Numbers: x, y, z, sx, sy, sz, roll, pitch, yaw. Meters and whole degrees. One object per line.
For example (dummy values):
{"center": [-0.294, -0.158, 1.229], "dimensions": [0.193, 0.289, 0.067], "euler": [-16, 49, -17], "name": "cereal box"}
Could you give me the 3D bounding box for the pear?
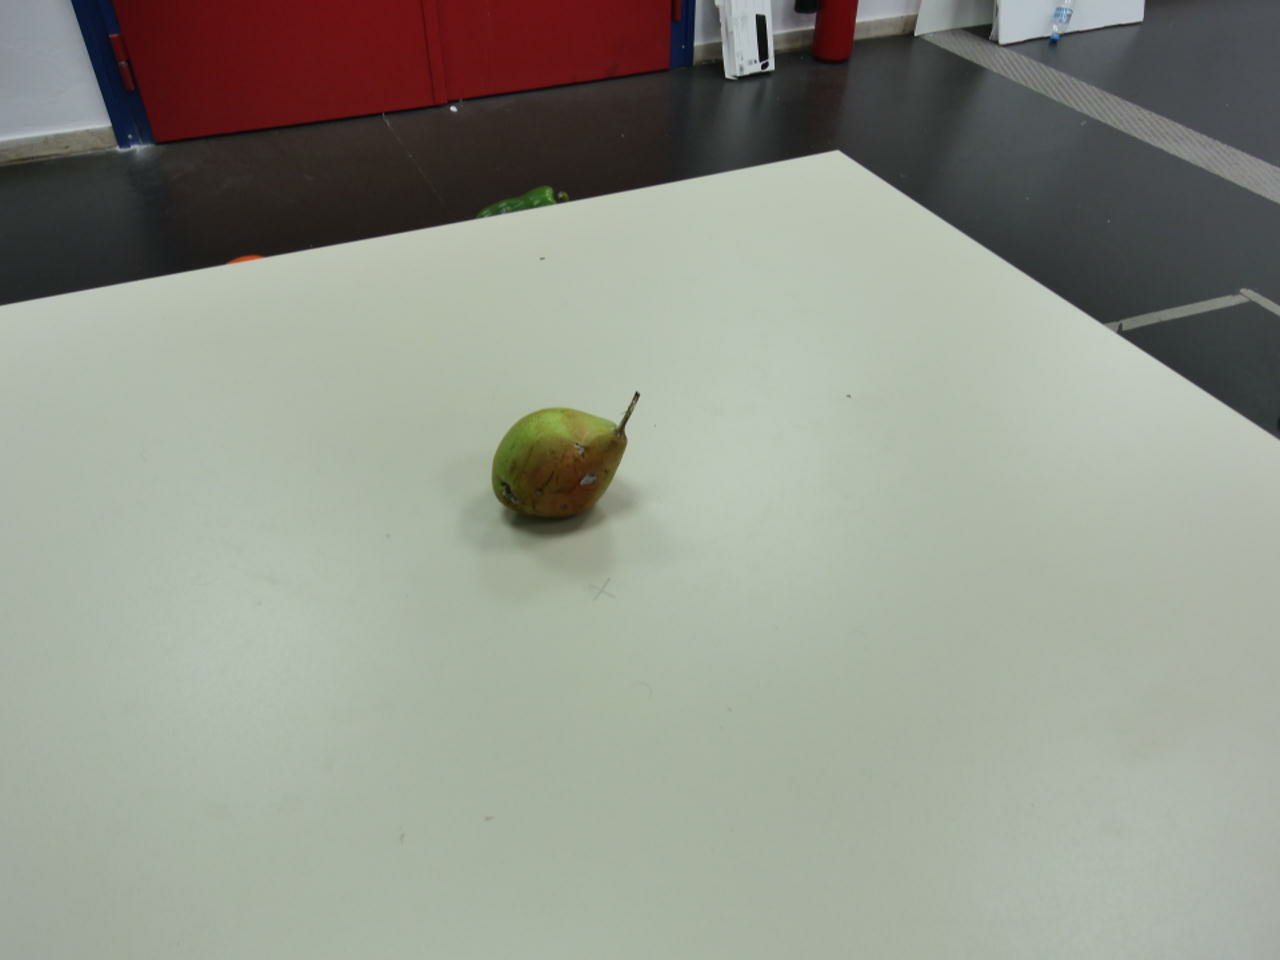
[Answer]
{"center": [-0.046, -0.012, 0.560], "dimensions": [0.070, 0.069, 0.068], "euler": [17, 42, 20], "name": "pear"}
